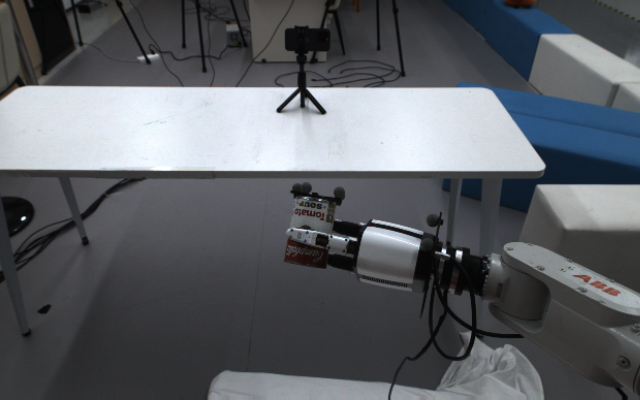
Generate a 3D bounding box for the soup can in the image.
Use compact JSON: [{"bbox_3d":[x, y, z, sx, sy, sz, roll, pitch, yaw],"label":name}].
[{"bbox_3d":[-0.014,0.049,0.745,0.067,0.101,0.067,9,-5,1],"label":"soup can"}]
